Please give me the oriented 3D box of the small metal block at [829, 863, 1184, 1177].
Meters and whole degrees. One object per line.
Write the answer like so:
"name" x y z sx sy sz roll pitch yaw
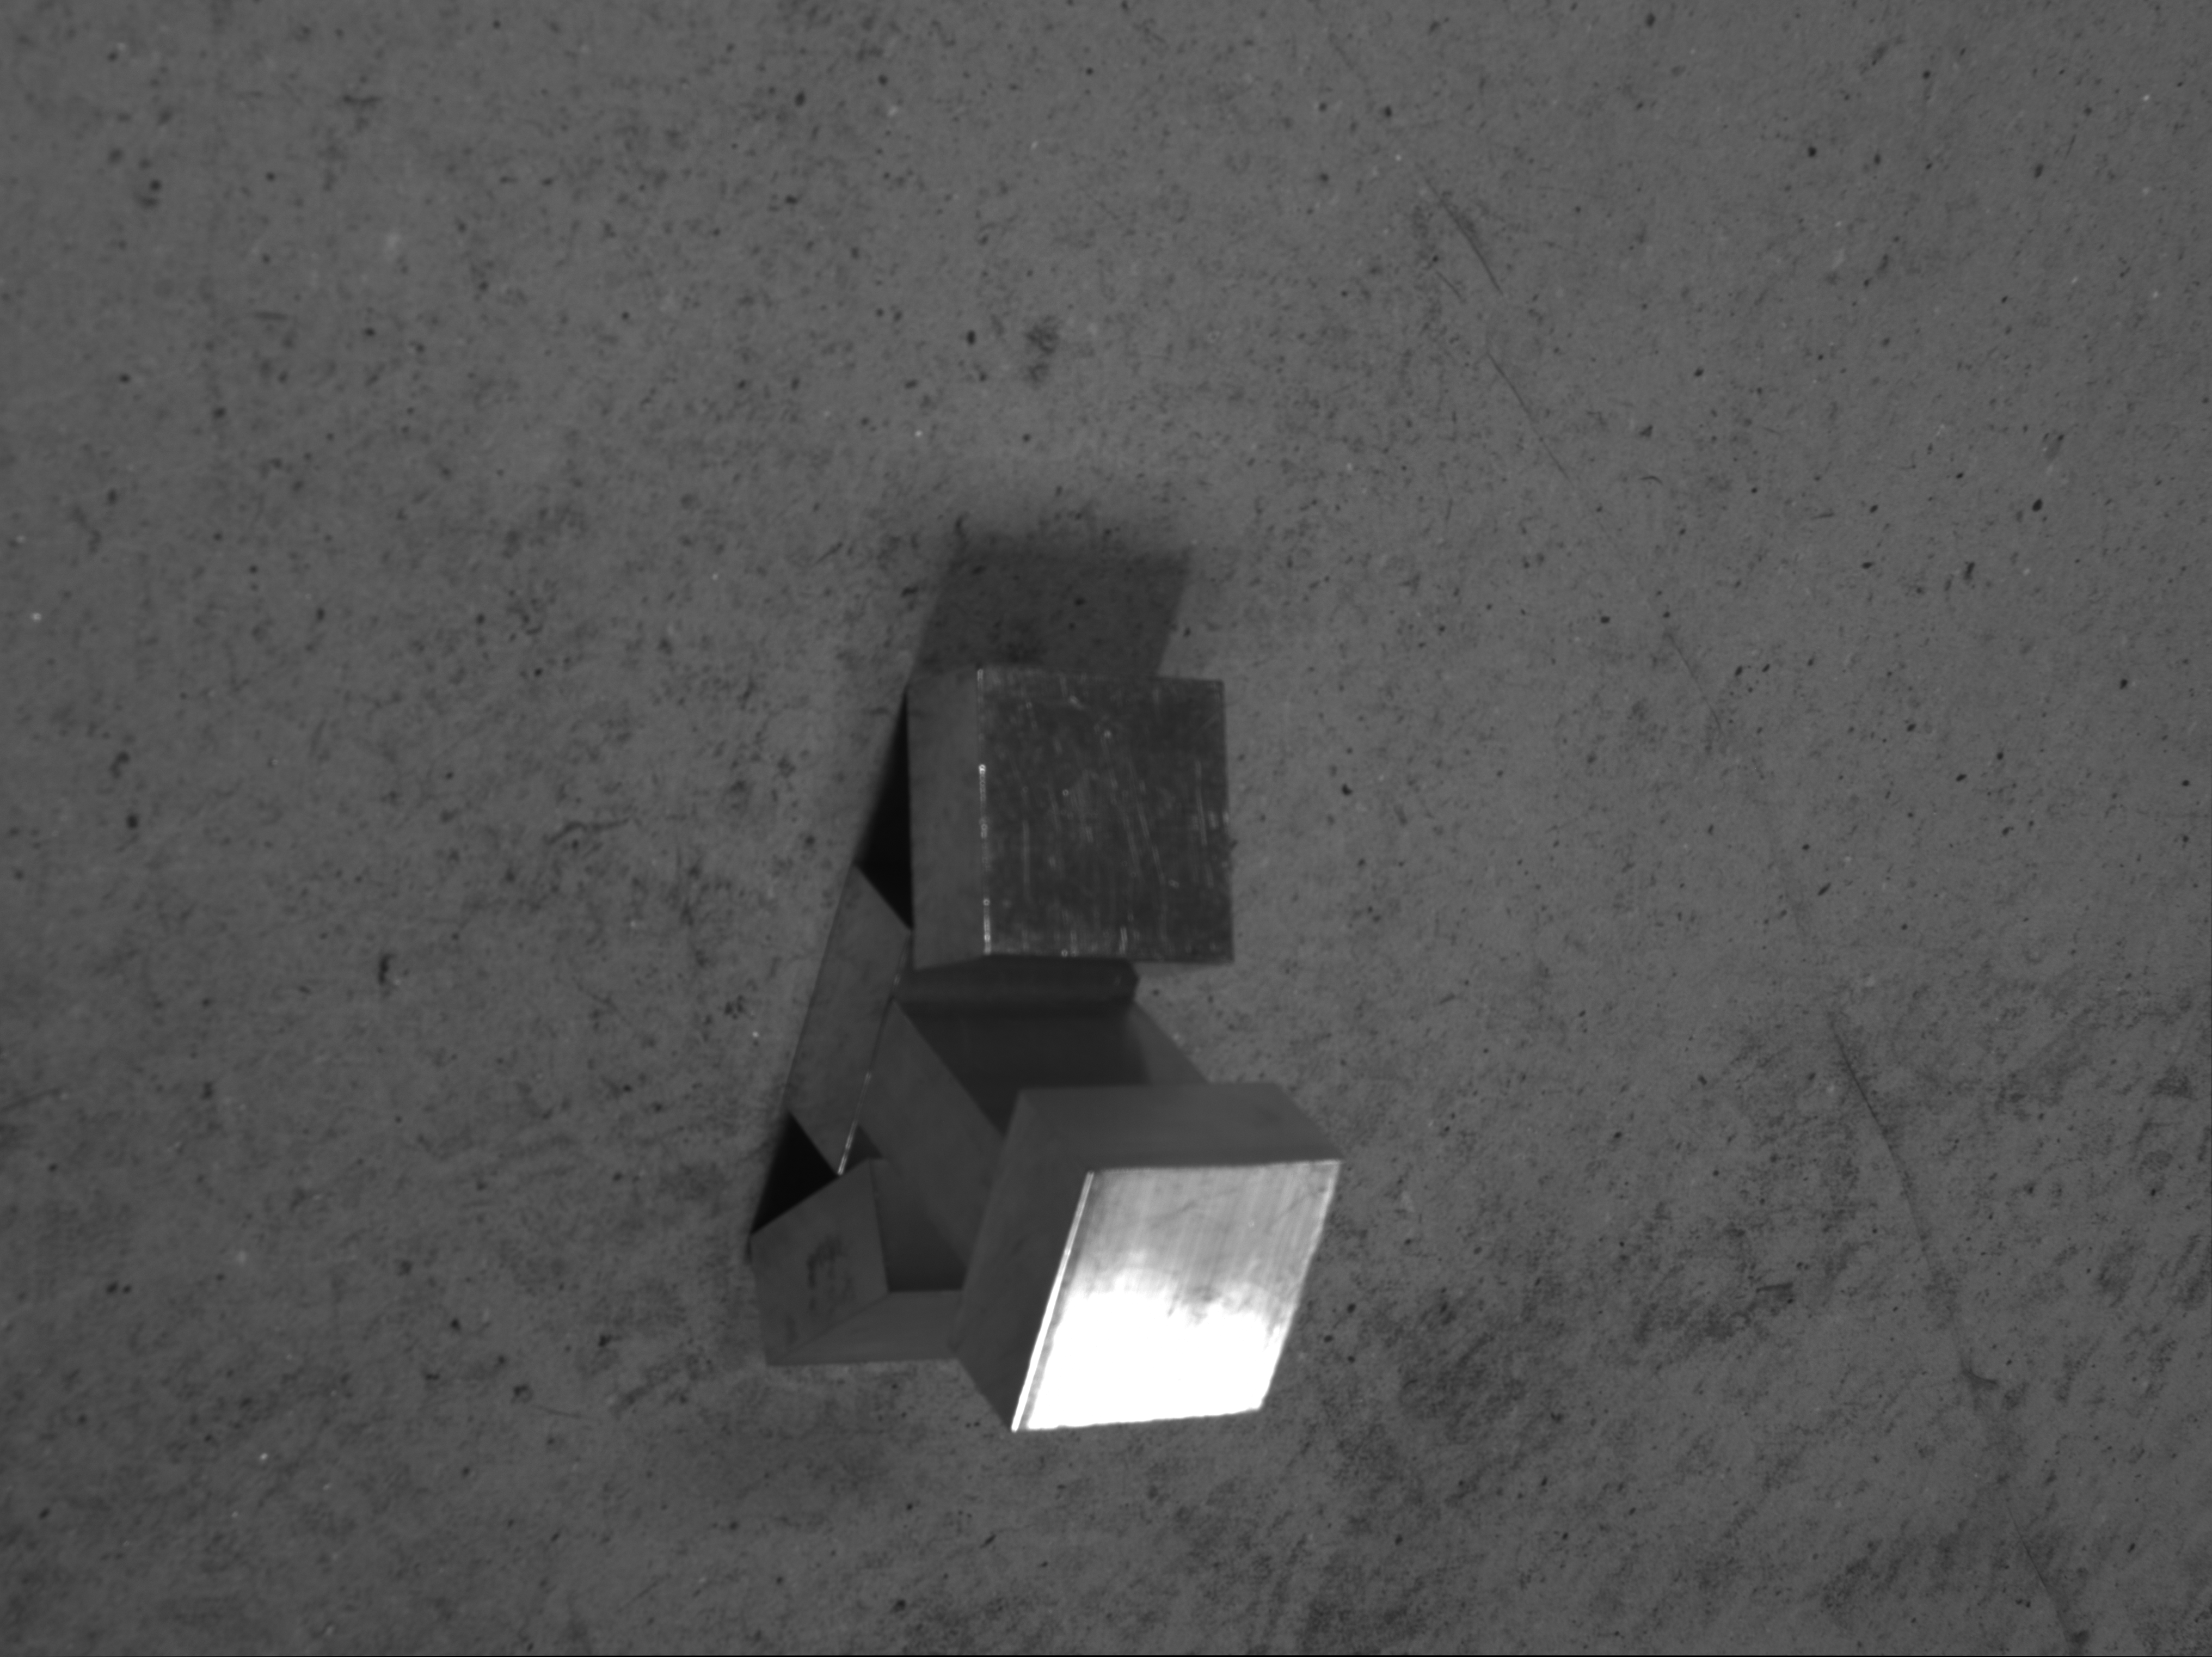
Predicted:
"small metal block" -0.017 0.035 0.664 0.050 0.025 0.050 3 117 -31

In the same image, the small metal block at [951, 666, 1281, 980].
"small metal block" 0.002 0.000 0.636 0.050 0.025 0.050 3 81 -31

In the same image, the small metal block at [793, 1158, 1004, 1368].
"small metal block" -0.022 0.079 0.671 0.050 0.025 0.050 3 157 -31

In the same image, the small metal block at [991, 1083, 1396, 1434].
"small metal block" 0.014 0.070 0.605 0.050 0.025 0.050 1 118 -31

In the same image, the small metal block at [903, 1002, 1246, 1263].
"small metal block" 0.000 0.054 0.635 0.050 0.050 0.025 3 117 -31
